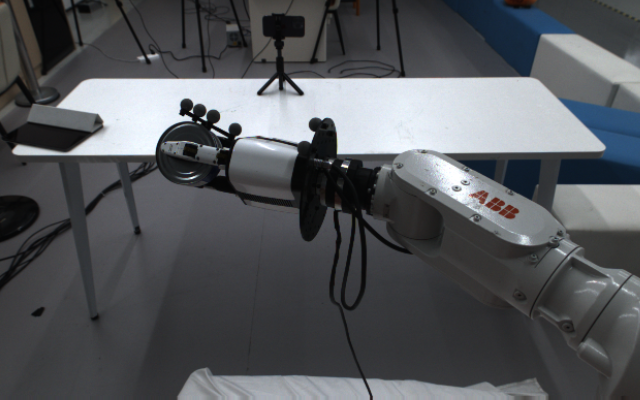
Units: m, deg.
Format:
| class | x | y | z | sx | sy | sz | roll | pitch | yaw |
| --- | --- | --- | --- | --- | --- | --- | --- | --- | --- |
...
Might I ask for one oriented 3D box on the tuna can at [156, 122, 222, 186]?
| class | x | y | z | sx | sy | sz | roll | pitch | yaw |
| --- | --- | --- | --- | --- | --- | --- | --- | --- | --- |
| tuna can | -0.175 | -0.060 | 0.658 | 0.085 | 0.085 | 0.034 | 9 | -5 | 10 |
